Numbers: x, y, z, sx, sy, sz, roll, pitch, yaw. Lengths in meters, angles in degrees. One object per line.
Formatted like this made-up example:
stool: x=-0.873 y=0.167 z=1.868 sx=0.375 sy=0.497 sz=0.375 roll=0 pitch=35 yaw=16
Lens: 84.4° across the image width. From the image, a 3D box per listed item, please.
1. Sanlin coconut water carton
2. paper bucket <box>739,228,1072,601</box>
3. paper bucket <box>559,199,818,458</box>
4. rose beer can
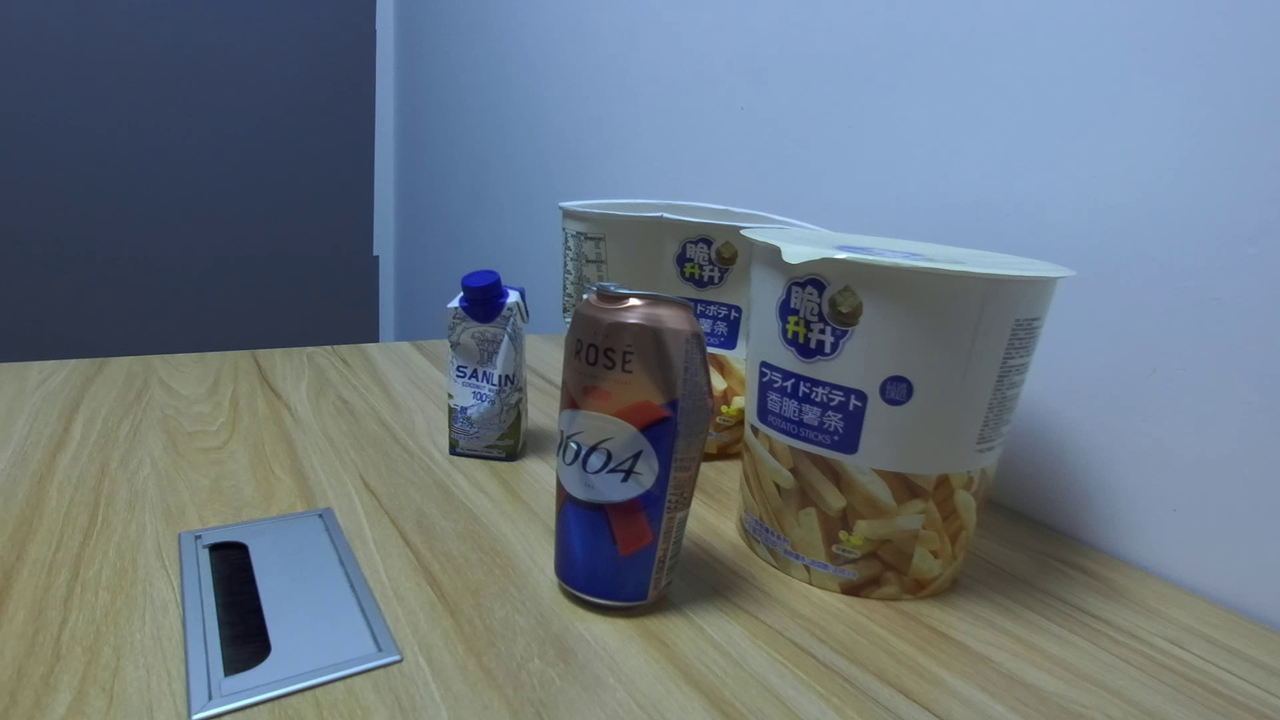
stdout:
Sanlin coconut water carton: x=-0.117 y=0.001 z=0.547 sx=0.061 sy=0.143 sz=0.070 roll=4 pitch=15 yaw=4
paper bucket: x=0.146 y=0.026 z=0.446 sx=0.198 sy=0.194 sz=0.198 roll=5 pitch=15 yaw=-1
paper bucket: x=0.044 y=-0.028 z=0.604 sx=0.218 sy=0.199 sz=0.147 roll=1 pitch=14 yaw=-16
rose beer can: x=-0.008 y=0.046 z=0.376 sx=0.069 sy=0.168 sz=0.069 roll=3 pitch=12 yaw=-15
